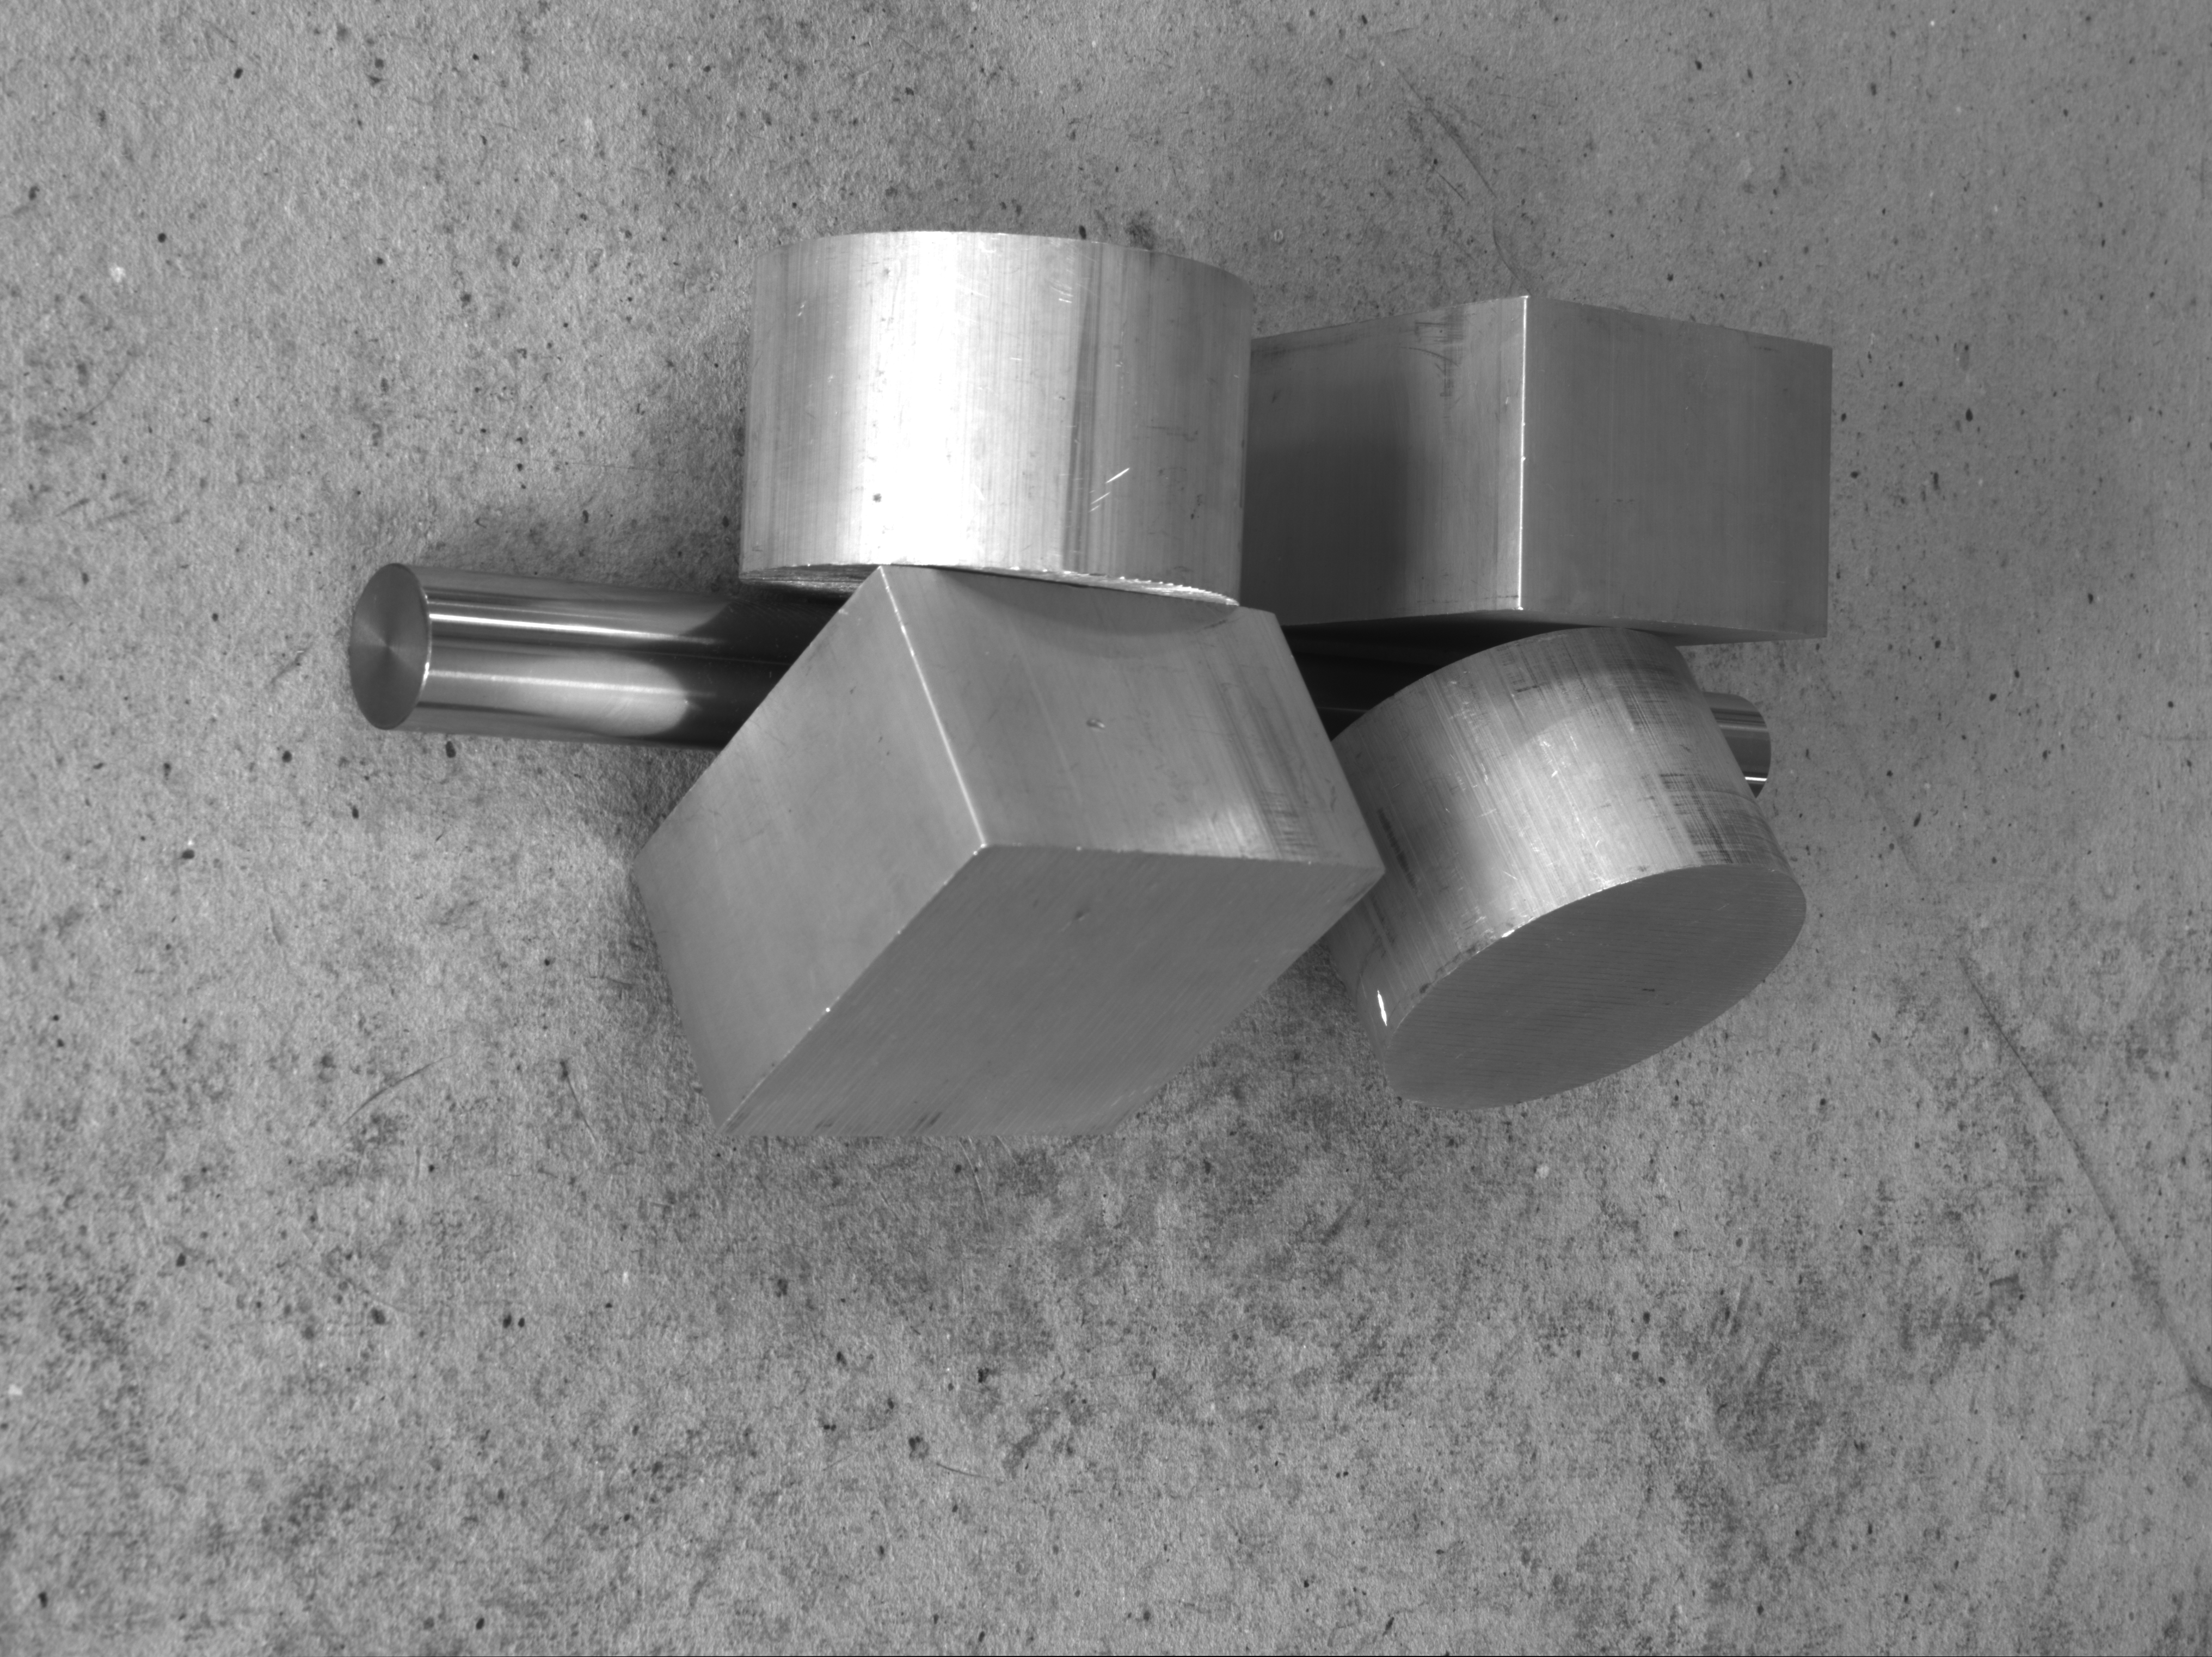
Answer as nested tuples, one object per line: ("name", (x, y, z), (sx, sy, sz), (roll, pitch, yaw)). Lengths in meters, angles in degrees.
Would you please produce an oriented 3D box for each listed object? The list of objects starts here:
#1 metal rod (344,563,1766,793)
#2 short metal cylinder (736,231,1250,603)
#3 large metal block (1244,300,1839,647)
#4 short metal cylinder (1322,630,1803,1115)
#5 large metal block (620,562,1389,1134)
("metal rod", (0.008, -0.021, 0.645), (0.301, 0.025, 0.025), (3, 88, -40))
("short metal cylinder", (-0.018, -0.062, 0.586), (0.080, 0.080, 0.050), (5, 87, -40))
("large metal block", (0.075, -0.061, 0.662), (0.080, 0.080, 0.050), (2, 89, -40))
("short metal cylinder", (0.077, 0.009, 0.657), (0.080, 0.080, 0.050), (2, 53, -40))
("large metal block", (-0.017, 0.006, 0.579), (0.080, 0.080, 0.050), (3, 53, -40))
